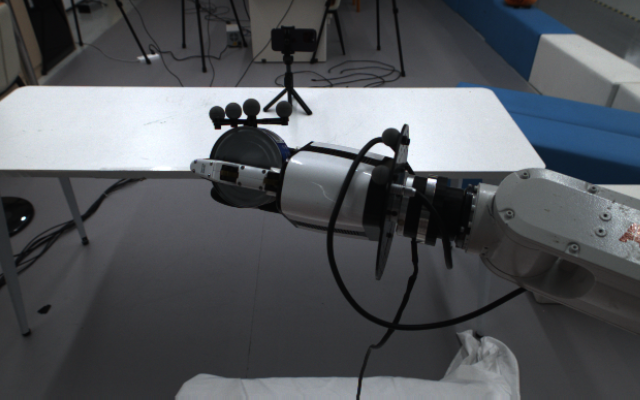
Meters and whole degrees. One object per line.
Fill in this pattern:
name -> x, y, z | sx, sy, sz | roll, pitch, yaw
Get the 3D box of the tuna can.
tuna can -> -0.072, -0.036, 0.522 | 0.085, 0.085, 0.034 | 15, 10, 18
